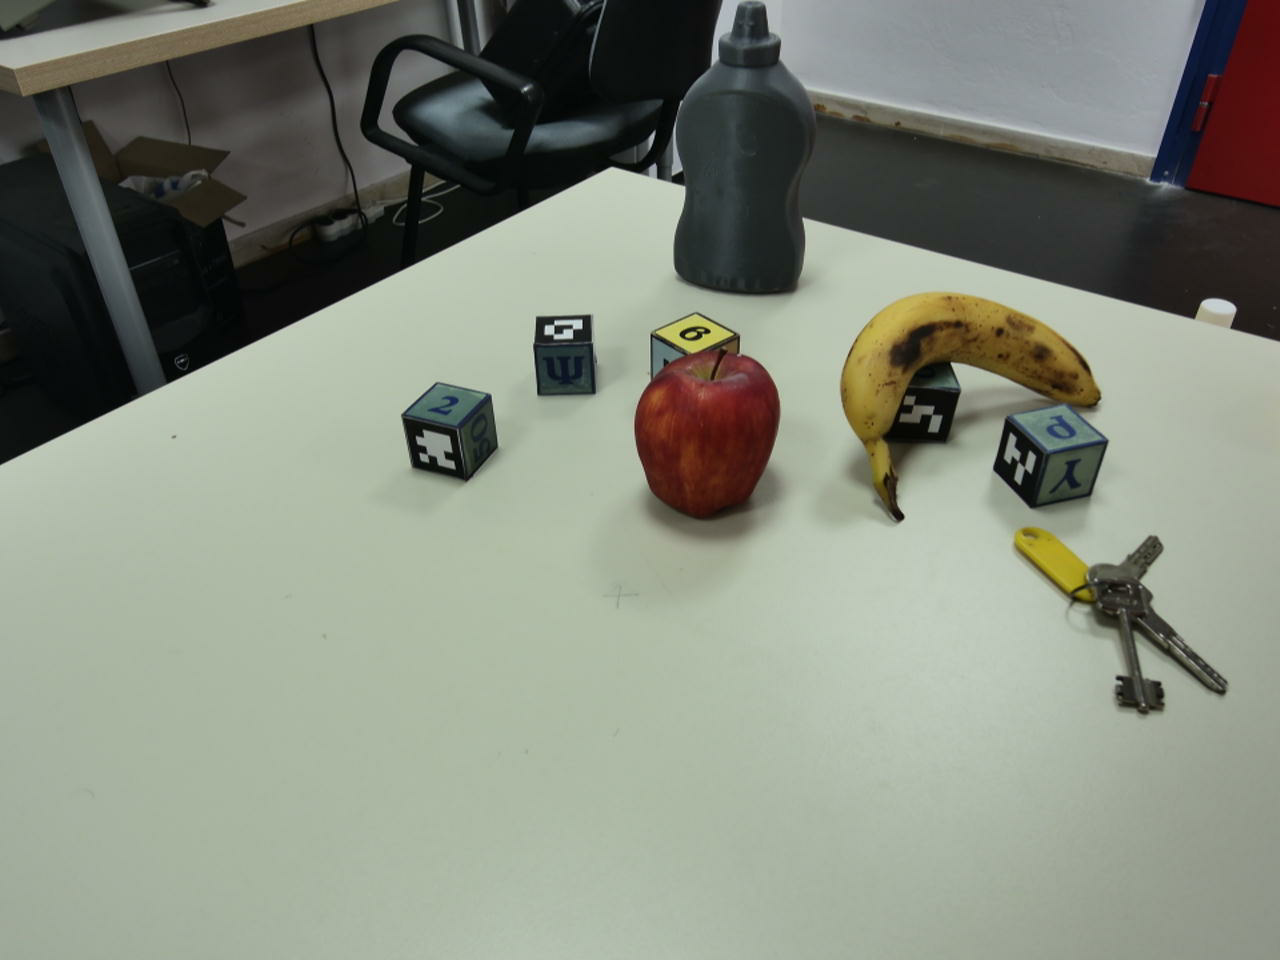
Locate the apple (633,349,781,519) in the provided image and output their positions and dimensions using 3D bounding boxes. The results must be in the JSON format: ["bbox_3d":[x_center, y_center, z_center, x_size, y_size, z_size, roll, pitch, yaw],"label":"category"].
[{"bbox_3d":[0.036,-0.031,0.530,0.083,0.090,0.083,0,37,0],"label":"apple"}]
